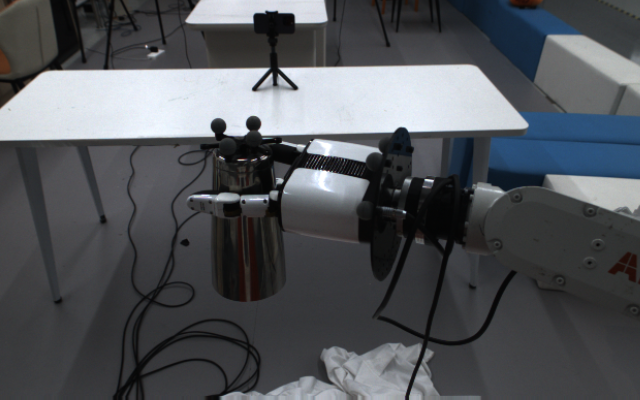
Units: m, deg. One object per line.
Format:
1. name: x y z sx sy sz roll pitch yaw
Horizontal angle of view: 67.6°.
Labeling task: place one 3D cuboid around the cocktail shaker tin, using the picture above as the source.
1. cocktail shaker tin: -0.083 0.020 0.569 0.093 0.170 0.093 1 27 -1
